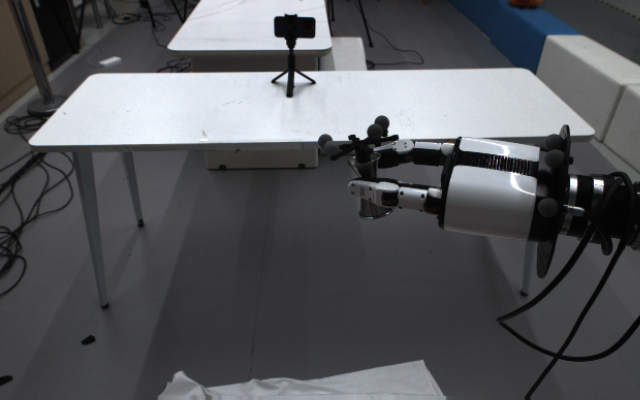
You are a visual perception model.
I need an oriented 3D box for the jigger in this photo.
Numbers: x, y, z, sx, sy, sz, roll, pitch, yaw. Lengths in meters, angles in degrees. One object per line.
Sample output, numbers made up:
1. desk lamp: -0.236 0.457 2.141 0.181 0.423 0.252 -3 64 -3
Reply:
1. jigger: 0.060 -0.017 0.565 0.043 0.071 0.043 -14 21 6
